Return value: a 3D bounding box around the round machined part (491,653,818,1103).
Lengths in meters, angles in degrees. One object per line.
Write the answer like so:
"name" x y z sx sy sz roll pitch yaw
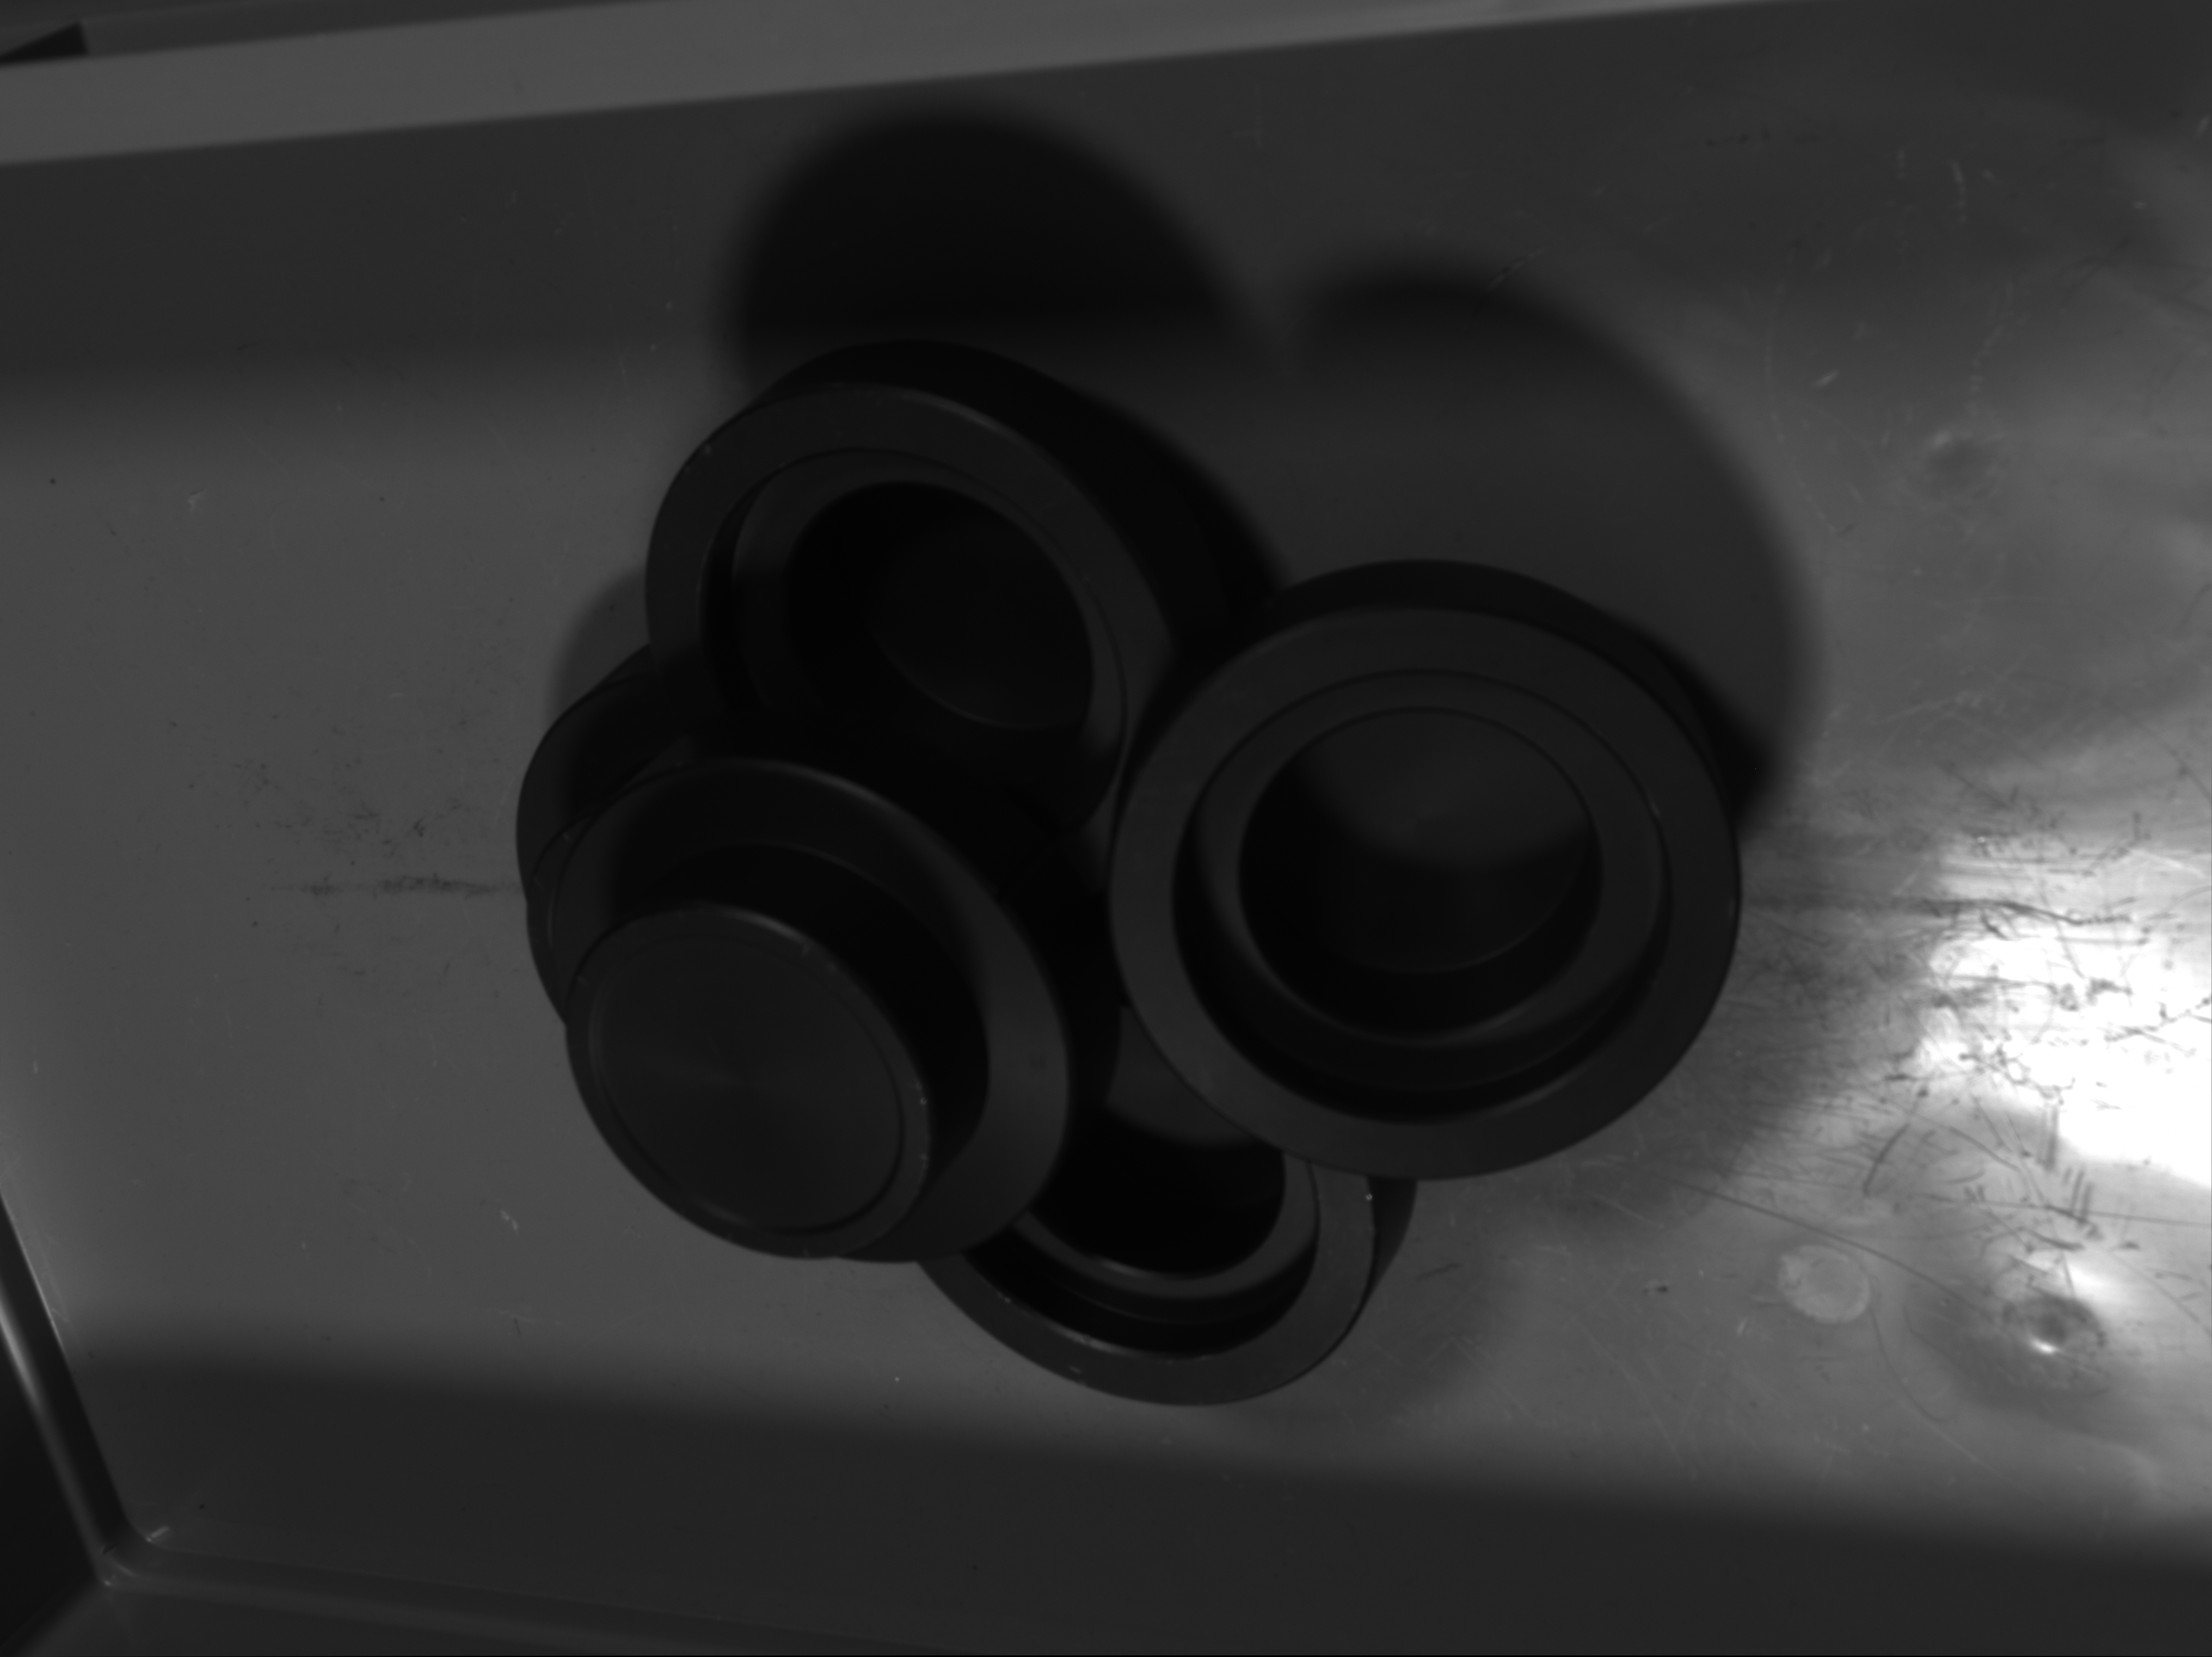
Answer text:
"round machined part" -0.069 0.017 0.661 0.098 0.042 0.098 12 123 20

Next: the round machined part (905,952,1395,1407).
"round machined part" 0.005 0.050 0.646 0.098 0.042 0.098 12 123 20

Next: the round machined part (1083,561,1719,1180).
"round machined part" 0.047 0.003 0.584 0.098 0.042 0.098 2 114 4

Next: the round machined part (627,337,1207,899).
"round machined part" -0.027 -0.036 0.611 0.098 0.042 0.098 12 123 20

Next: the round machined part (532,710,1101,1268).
"round machined part" -0.054 0.033 0.610 0.098 0.042 0.098 12 123 20
